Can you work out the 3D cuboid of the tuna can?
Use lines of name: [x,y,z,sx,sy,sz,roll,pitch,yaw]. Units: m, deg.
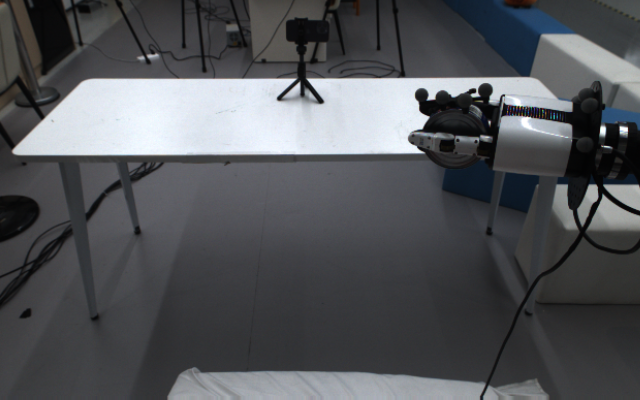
tuna can: [0.183,-0.088,0.647,0.085,0.085,0.034,15,35,17]
